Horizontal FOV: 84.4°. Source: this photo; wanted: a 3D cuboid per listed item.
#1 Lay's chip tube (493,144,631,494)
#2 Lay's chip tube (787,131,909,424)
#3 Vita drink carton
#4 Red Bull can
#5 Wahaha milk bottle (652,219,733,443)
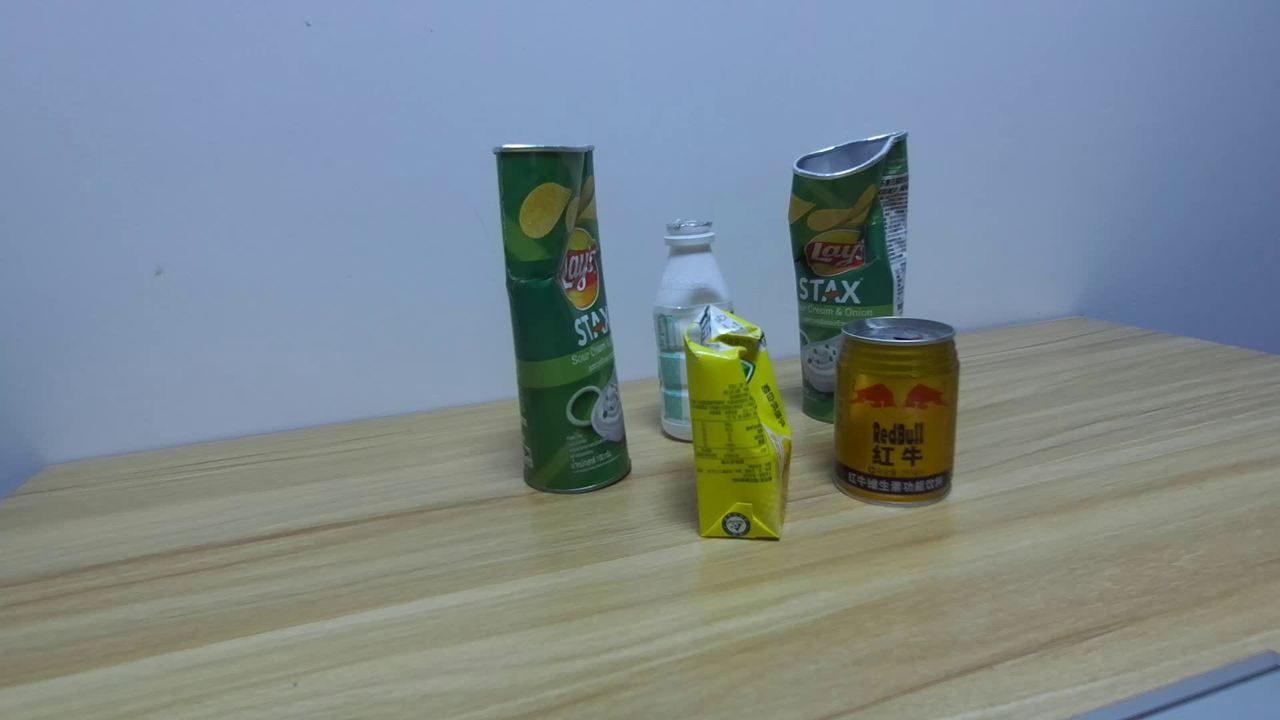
[{"bbox_3d":[-0.046,-0.024,0.429,0.069,0.199,0.074,-8,15,-17],"label":"Lay's chip tube"},{"bbox_3d":[0.146,-0.051,0.493,0.079,0.199,0.071,0,20,17],"label":"Lay's chip tube"},{"bbox_3d":[0.054,0.030,0.369,0.046,0.109,0.071,-1,16,16],"label":"Vita drink carton"},{"bbox_3d":[0.143,0.027,0.398,0.067,0.093,0.067,-2,14,1],"label":"Red Bull can"},{"bbox_3d":[0.038,-0.019,0.482,0.055,0.149,0.055,-1,15,1],"label":"Wahaha milk bottle"}]
